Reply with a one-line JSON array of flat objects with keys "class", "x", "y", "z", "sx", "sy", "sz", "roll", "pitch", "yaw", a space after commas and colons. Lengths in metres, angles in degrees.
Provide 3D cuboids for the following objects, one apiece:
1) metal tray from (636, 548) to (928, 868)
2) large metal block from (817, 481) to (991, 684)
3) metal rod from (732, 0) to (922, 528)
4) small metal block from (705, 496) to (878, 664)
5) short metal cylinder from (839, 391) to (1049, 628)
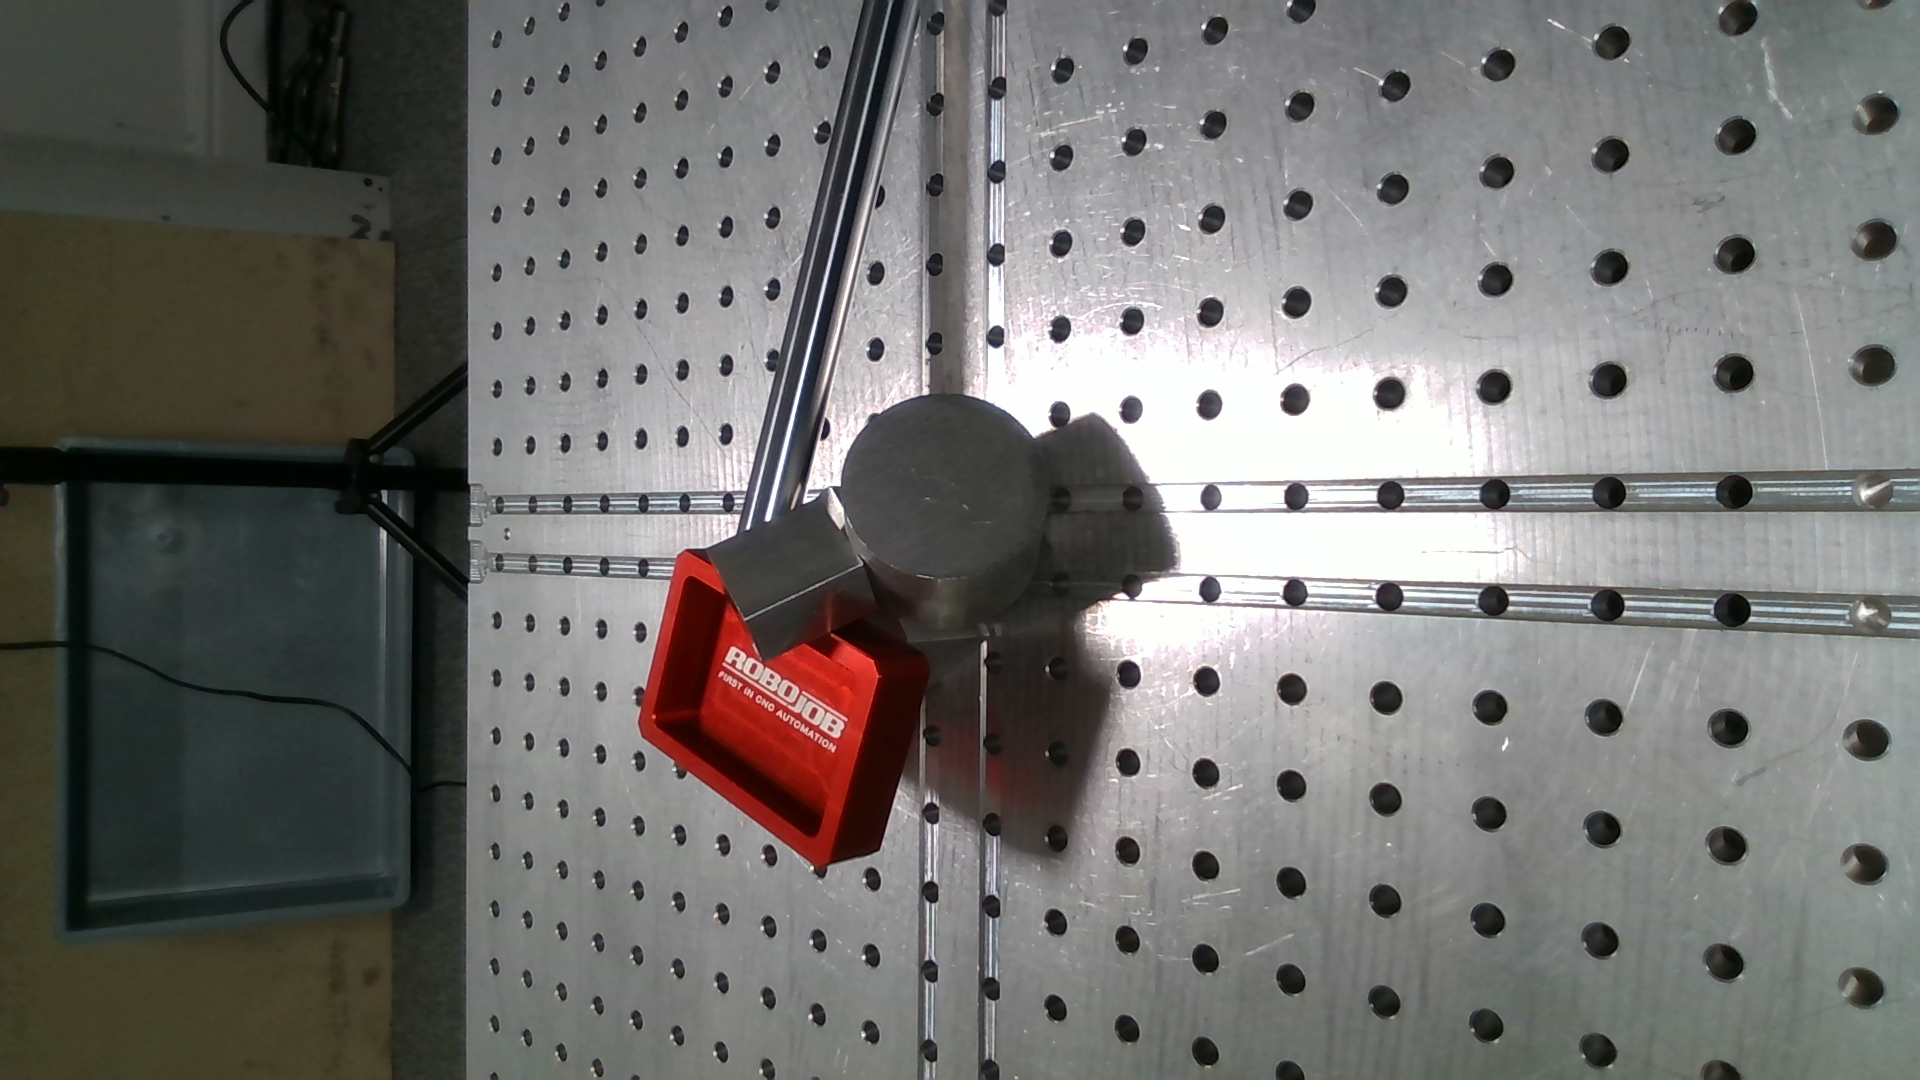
[{"class": "metal tray", "x": -0.079, "y": 0.066, "z": 0.580, "sx": 0.130, "sy": 0.030, "sz": 0.090, "roll": 26, "pitch": 107, "yaw": 37}, {"class": "large metal block", "x": -0.045, "y": 0.031, "z": 0.606, "sx": 0.080, "sy": 0.050, "sz": 0.080, "roll": -43, "pitch": 64, "yaw": 32}, {"class": "metal rod", "x": -0.053, "y": -0.135, "z": 0.590, "sx": 0.025, "sy": 0.025, "sz": 0.300, "roll": 11, "pitch": 86, "yaw": 40}, {"class": "small metal block", "x": -0.067, "y": 0.015, "z": 0.547, "sx": 0.050, "sy": 0.050, "sz": 0.025, "roll": 52, "pitch": 162, "yaw": 47}, {"class": "short metal cylinder", "x": -0.006, "y": -0.012, "z": 0.546, "sx": 0.080, "sy": 0.080, "sz": 0.050, "roll": 62, "pitch": 168, "yaw": 21}]
